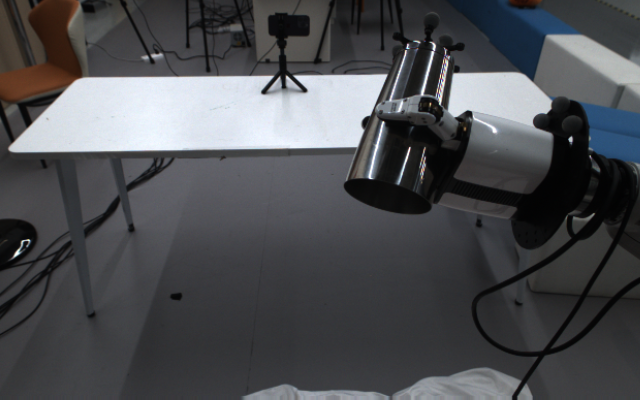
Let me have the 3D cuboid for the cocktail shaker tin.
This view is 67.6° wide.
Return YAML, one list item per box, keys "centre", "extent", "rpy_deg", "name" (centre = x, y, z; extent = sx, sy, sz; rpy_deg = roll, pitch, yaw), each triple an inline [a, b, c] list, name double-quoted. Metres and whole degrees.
- centre: [0.095, -0.079, 0.519]
  extent: [0.093, 0.093, 0.170]
  rpy_deg: [13, 74, 15]
  name: "cocktail shaker tin"
